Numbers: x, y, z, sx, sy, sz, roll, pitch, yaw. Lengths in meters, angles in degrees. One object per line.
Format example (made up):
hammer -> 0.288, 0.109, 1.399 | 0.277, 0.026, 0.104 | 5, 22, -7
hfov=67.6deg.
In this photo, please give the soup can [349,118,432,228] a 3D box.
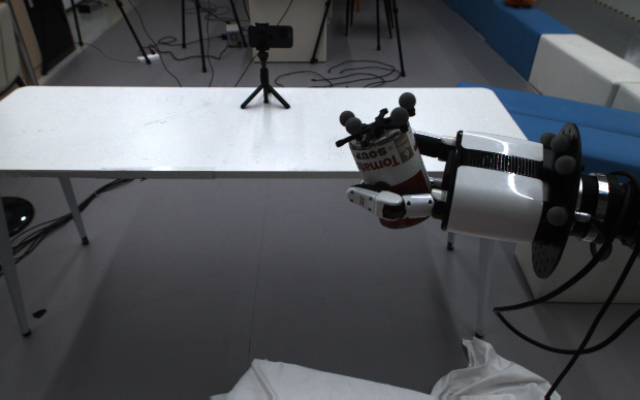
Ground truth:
soup can -> 0.081, -0.031, 0.522 | 0.067, 0.101, 0.067 | -22, 24, 10
